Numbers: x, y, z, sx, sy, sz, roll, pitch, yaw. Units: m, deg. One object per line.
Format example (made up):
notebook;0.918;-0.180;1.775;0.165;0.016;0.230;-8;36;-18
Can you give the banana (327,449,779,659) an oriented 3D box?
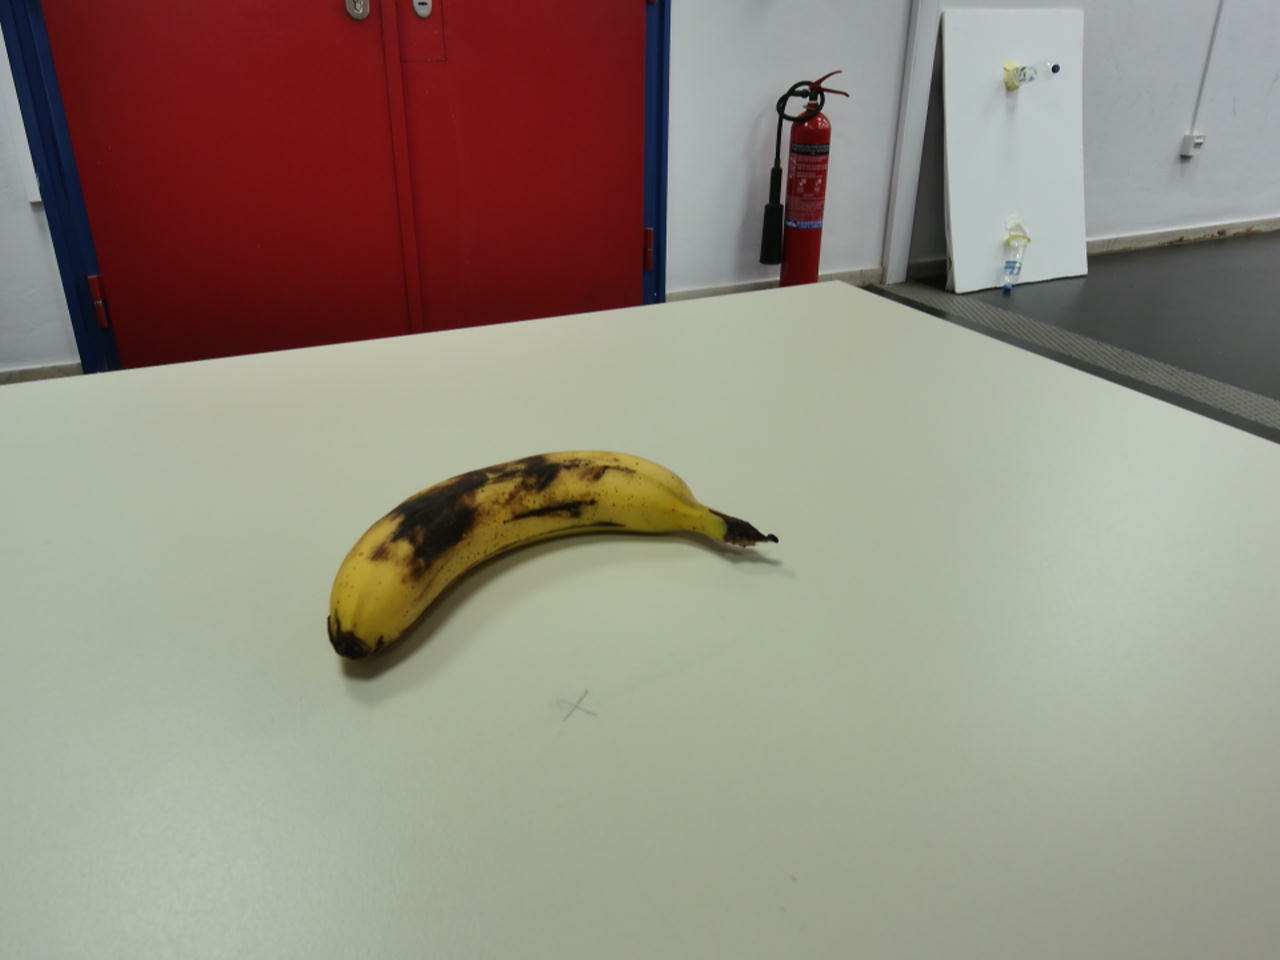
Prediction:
banana;-0.047;0.021;0.425;0.187;0.039;0.094;-12;27;-26
